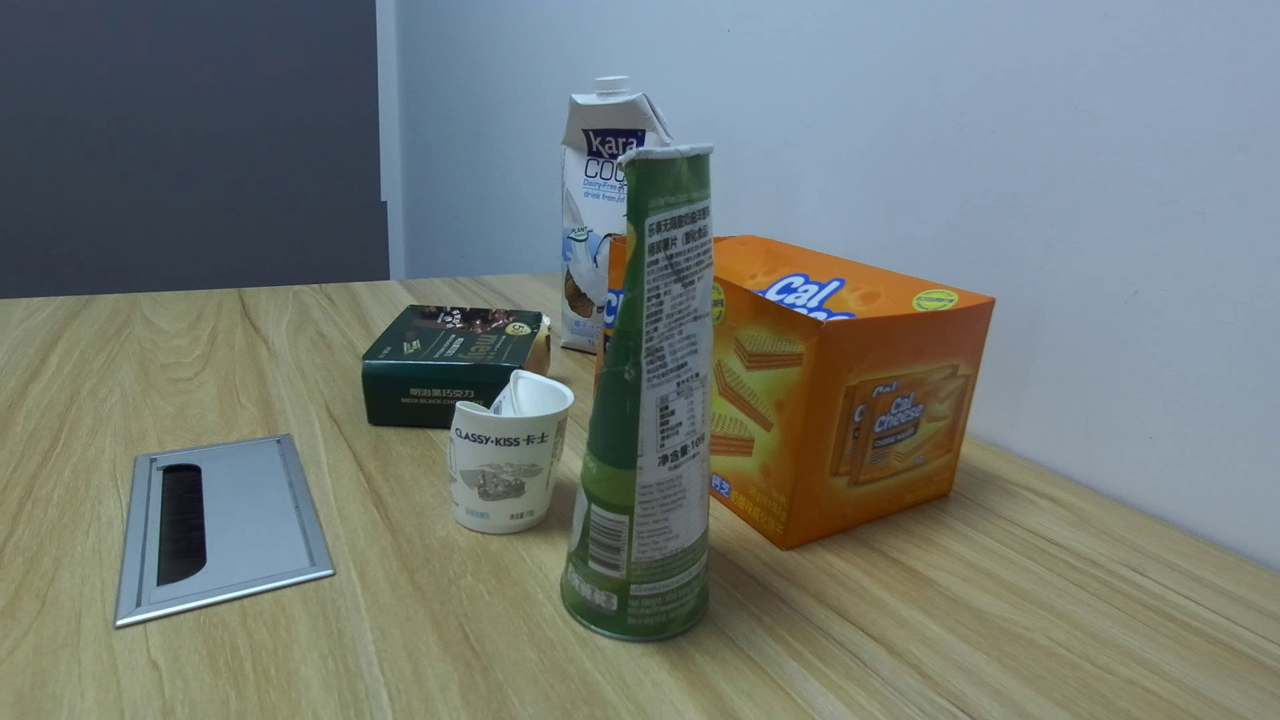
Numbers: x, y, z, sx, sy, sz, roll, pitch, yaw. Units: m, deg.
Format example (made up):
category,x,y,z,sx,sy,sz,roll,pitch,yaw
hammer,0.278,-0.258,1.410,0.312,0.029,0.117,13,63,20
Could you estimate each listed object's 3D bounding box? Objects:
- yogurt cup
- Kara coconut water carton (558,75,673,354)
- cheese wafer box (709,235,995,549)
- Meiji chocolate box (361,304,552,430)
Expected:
category,x,y,z,sx,sy,sz,roll,pitch,yaw
yogurt cup,-0.069,0.049,0.375,0.067,0.070,0.067,4,19,-1
Kara coconut water carton,-0.025,-0.122,0.625,0.115,0.238,0.069,13,21,24
cheese wafer box,0.080,-0.001,0.470,0.153,0.132,0.229,-8,24,-30
Meiji chocolate box,-0.129,0.006,0.515,0.122,0.058,0.115,3,23,-1
